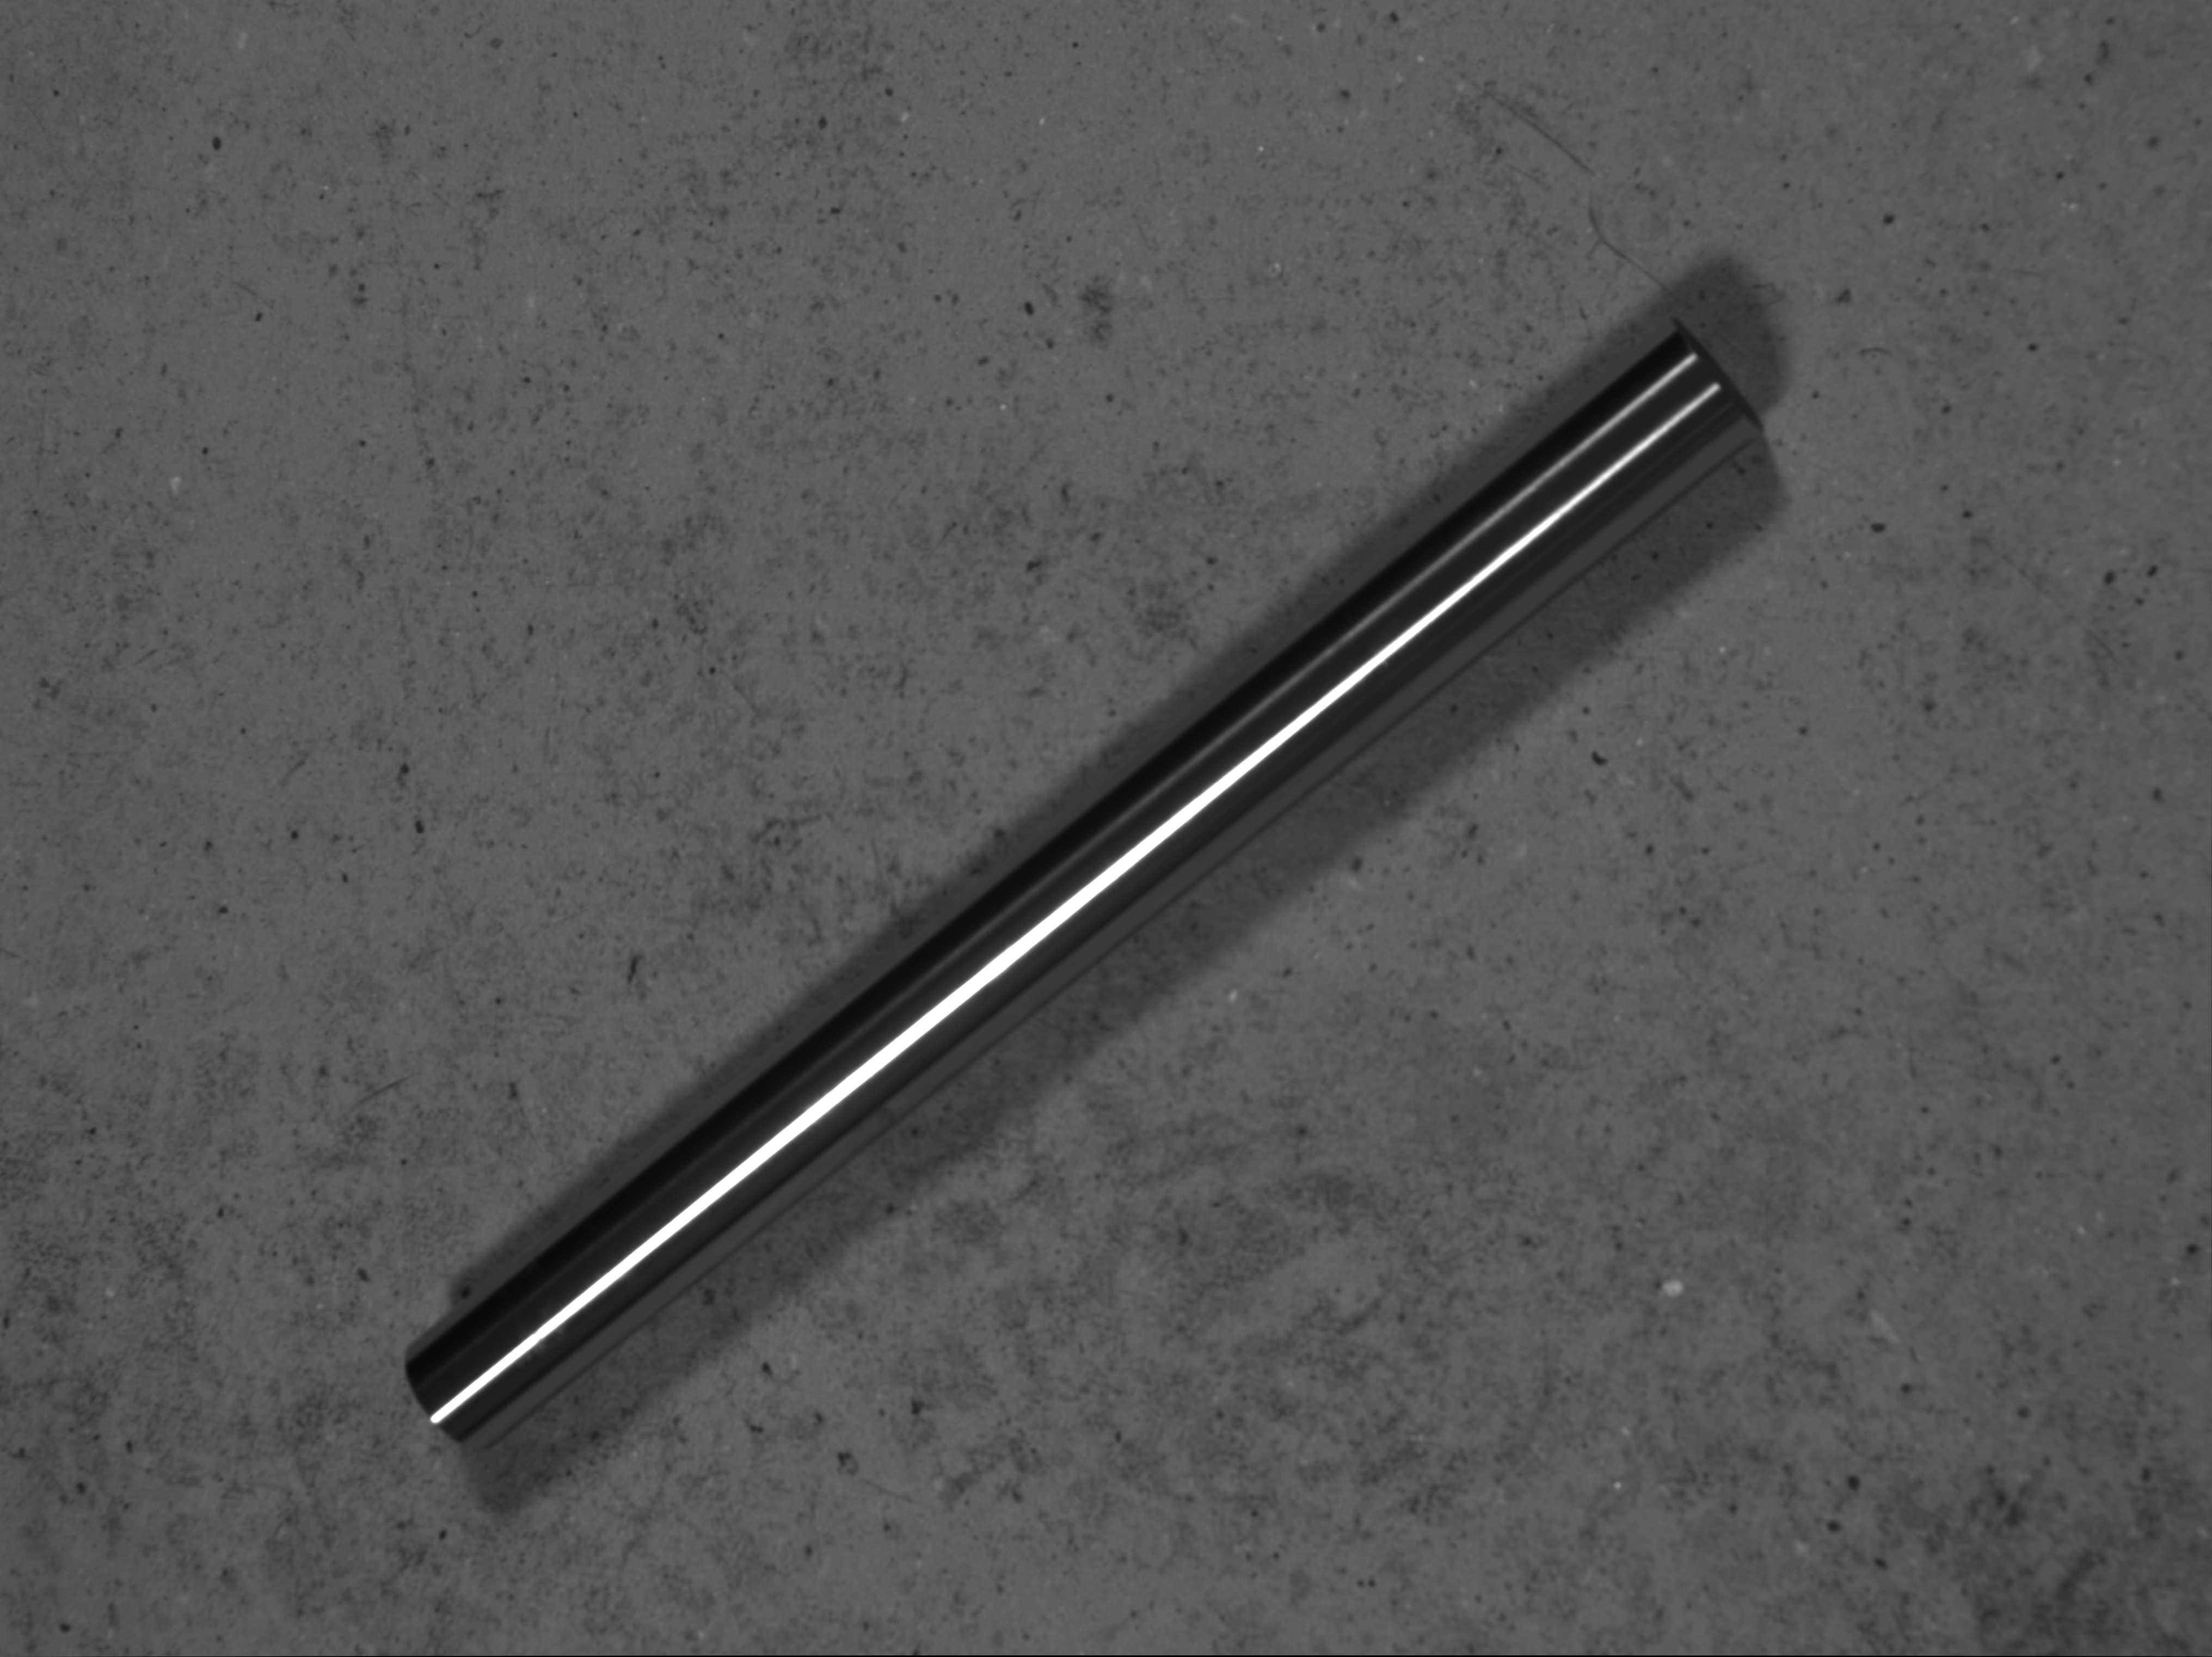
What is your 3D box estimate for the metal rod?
[{"bbox_3d":[-0.010,0.015,0.648,0.300,0.025,0.025,-39,78,15],"label":"metal rod"}]
